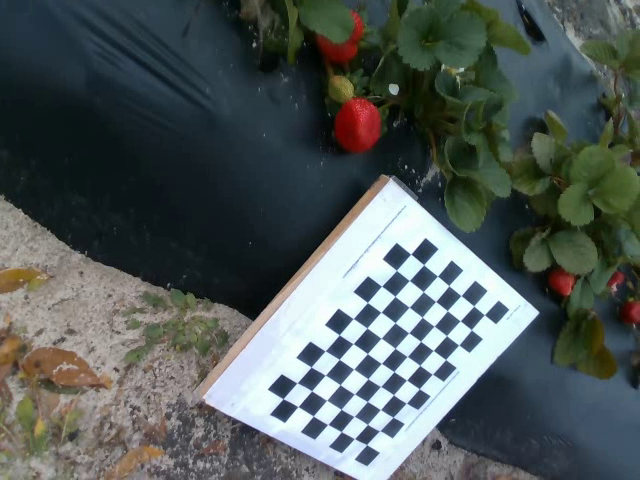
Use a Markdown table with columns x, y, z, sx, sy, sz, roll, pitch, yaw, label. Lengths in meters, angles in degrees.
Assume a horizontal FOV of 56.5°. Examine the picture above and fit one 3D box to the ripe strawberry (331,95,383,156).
| x | y | z | sx | sy | sz | roll | pitch | yaw | label |
| --- | --- | --- | --- | --- | --- | --- | --- | --- | --- |
| 0.038 | -0.111 | 0.563 | 0.057 | 0.056 | 0.065 | 3 | 24 | -3 | ripe strawberry |
